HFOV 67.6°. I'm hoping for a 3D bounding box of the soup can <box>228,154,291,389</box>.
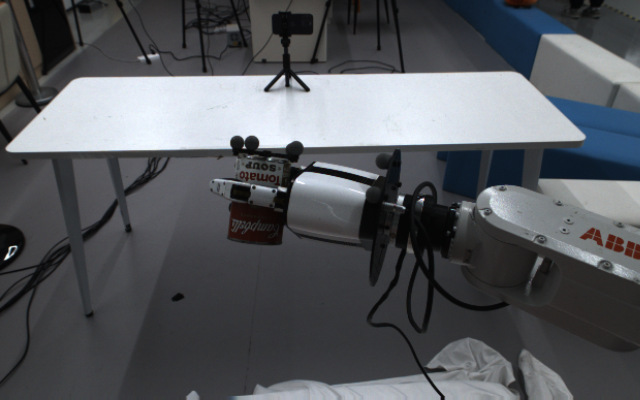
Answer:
[{"bbox_3d":[-0.072,0.000,0.585,0.067,0.101,0.067,7,3,0],"label":"soup can"}]
